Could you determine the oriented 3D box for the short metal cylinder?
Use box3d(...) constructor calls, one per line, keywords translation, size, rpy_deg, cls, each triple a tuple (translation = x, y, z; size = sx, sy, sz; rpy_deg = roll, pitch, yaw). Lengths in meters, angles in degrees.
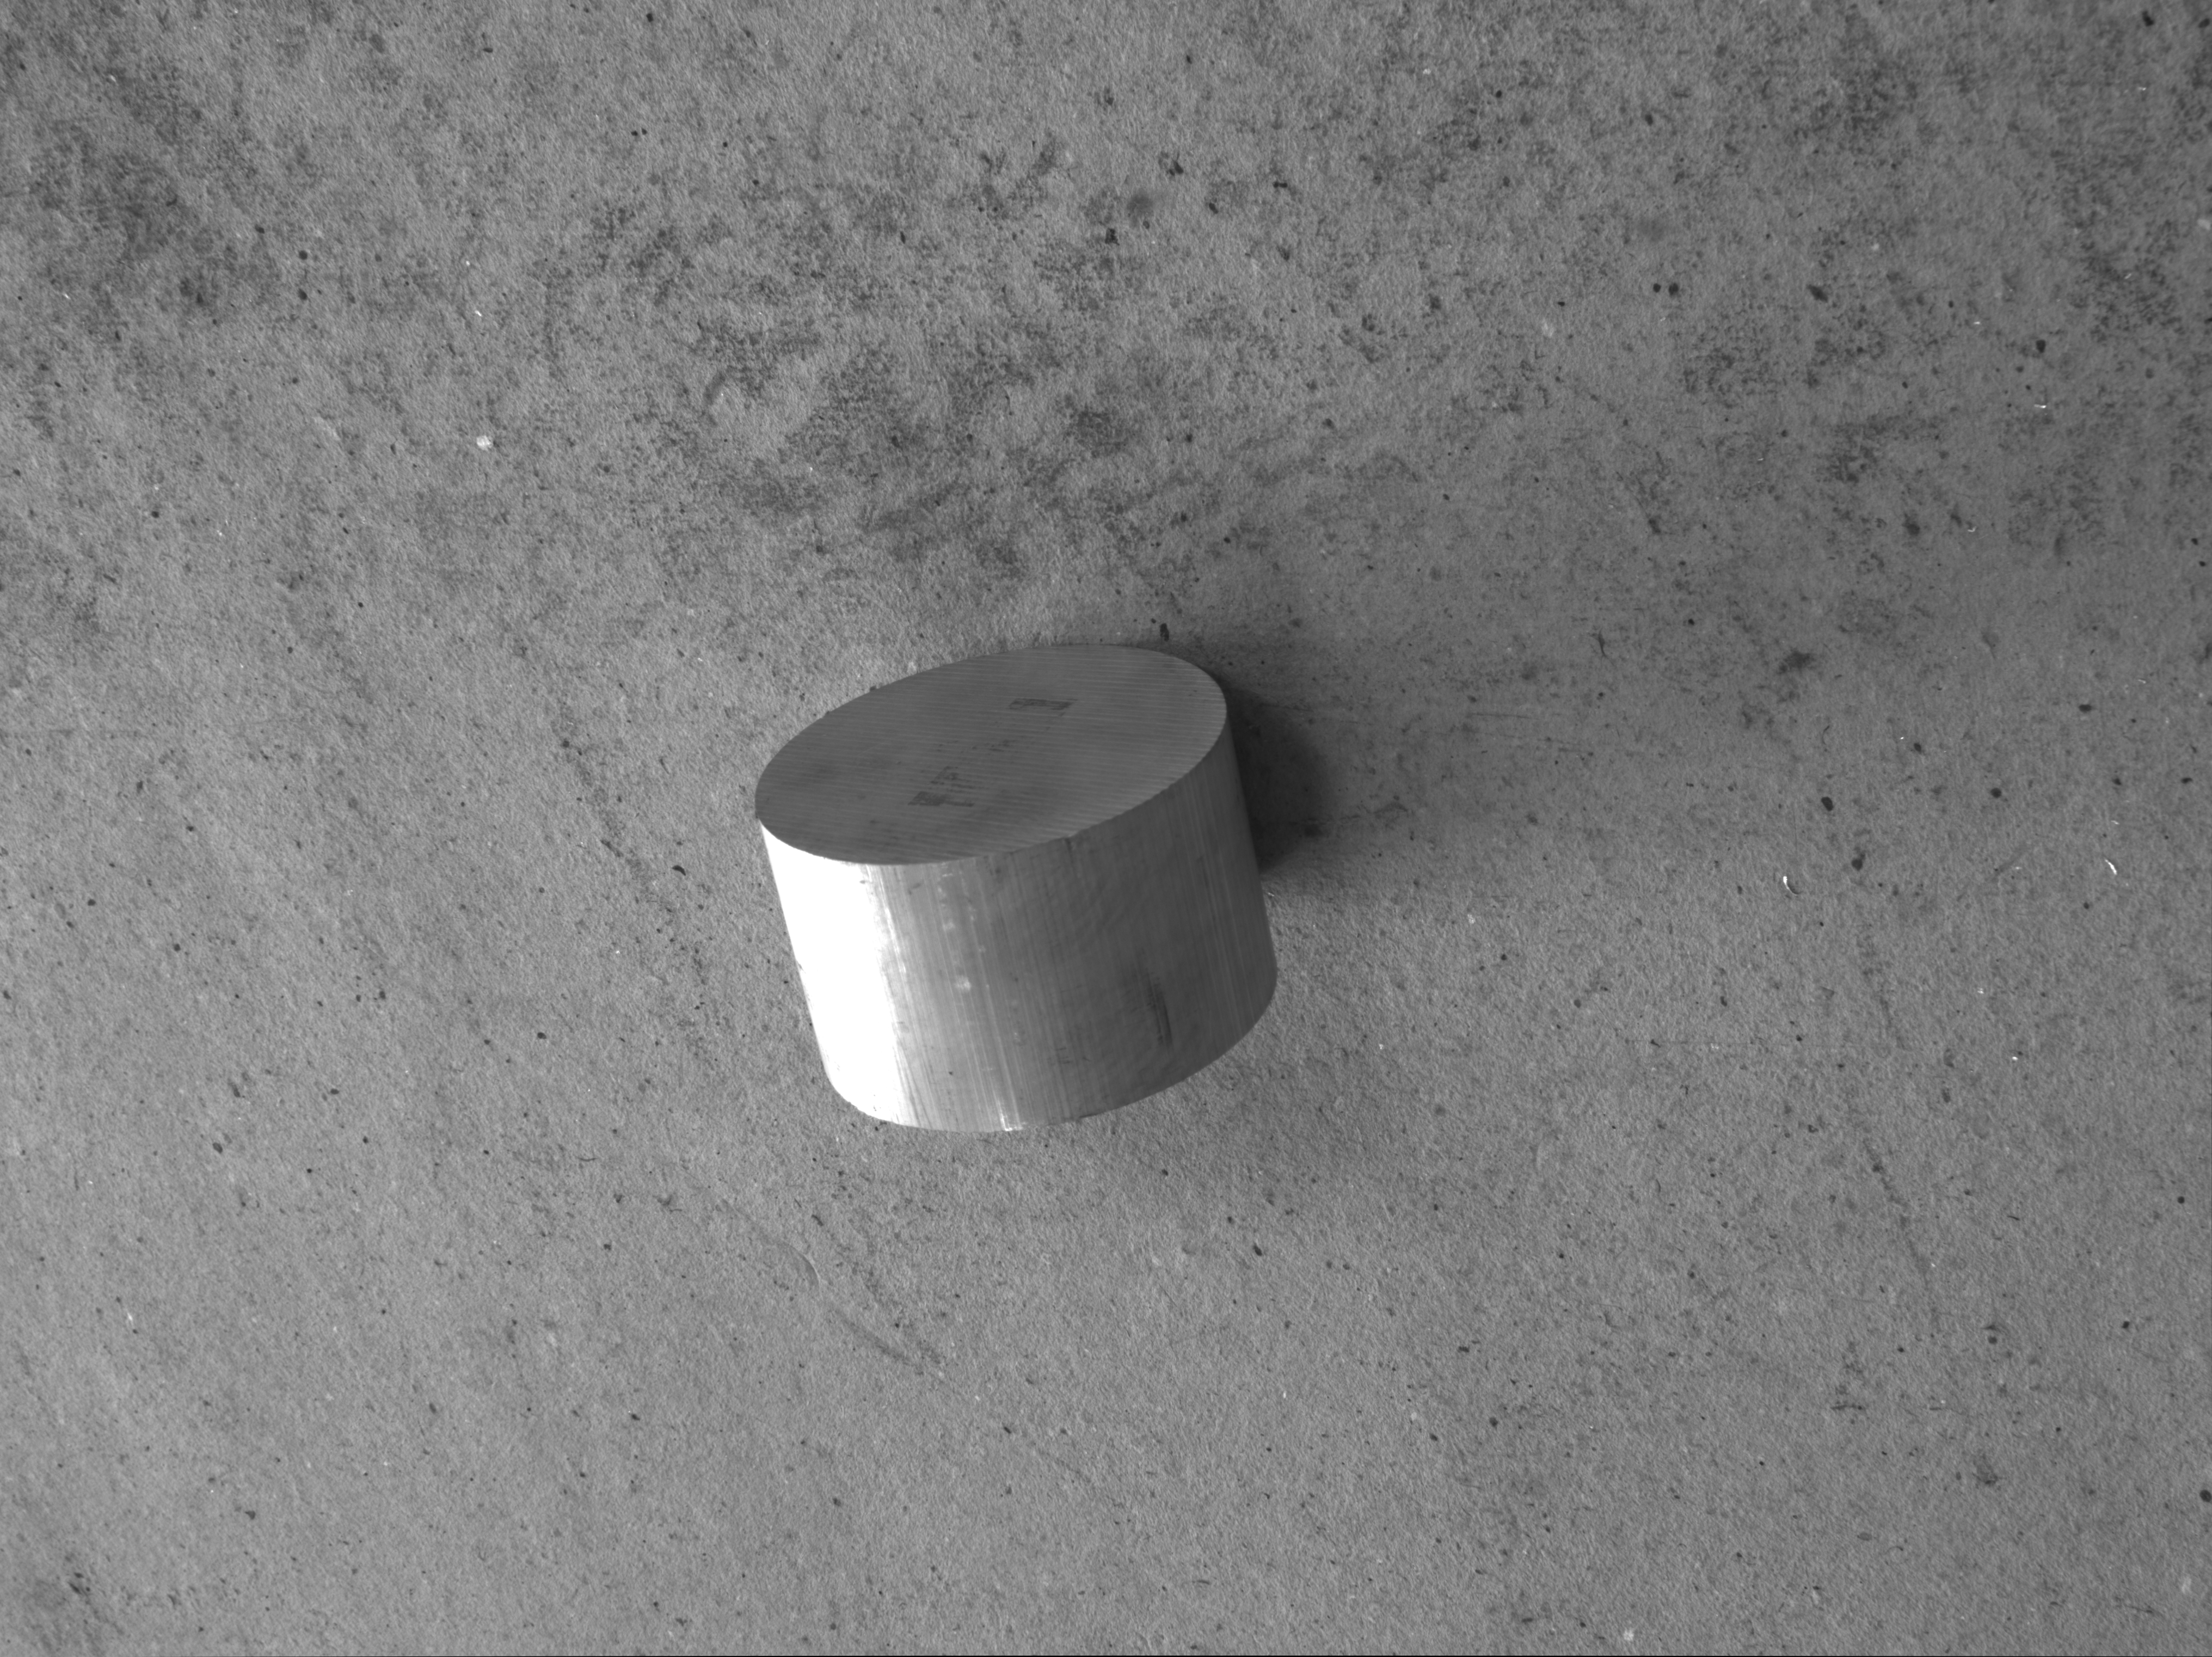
box3d(translation=(-0.015, 0.009, 0.621), size=(0.080, 0.080, 0.050), rpy_deg=(2, 119, 28), cls="short metal cylinder")
